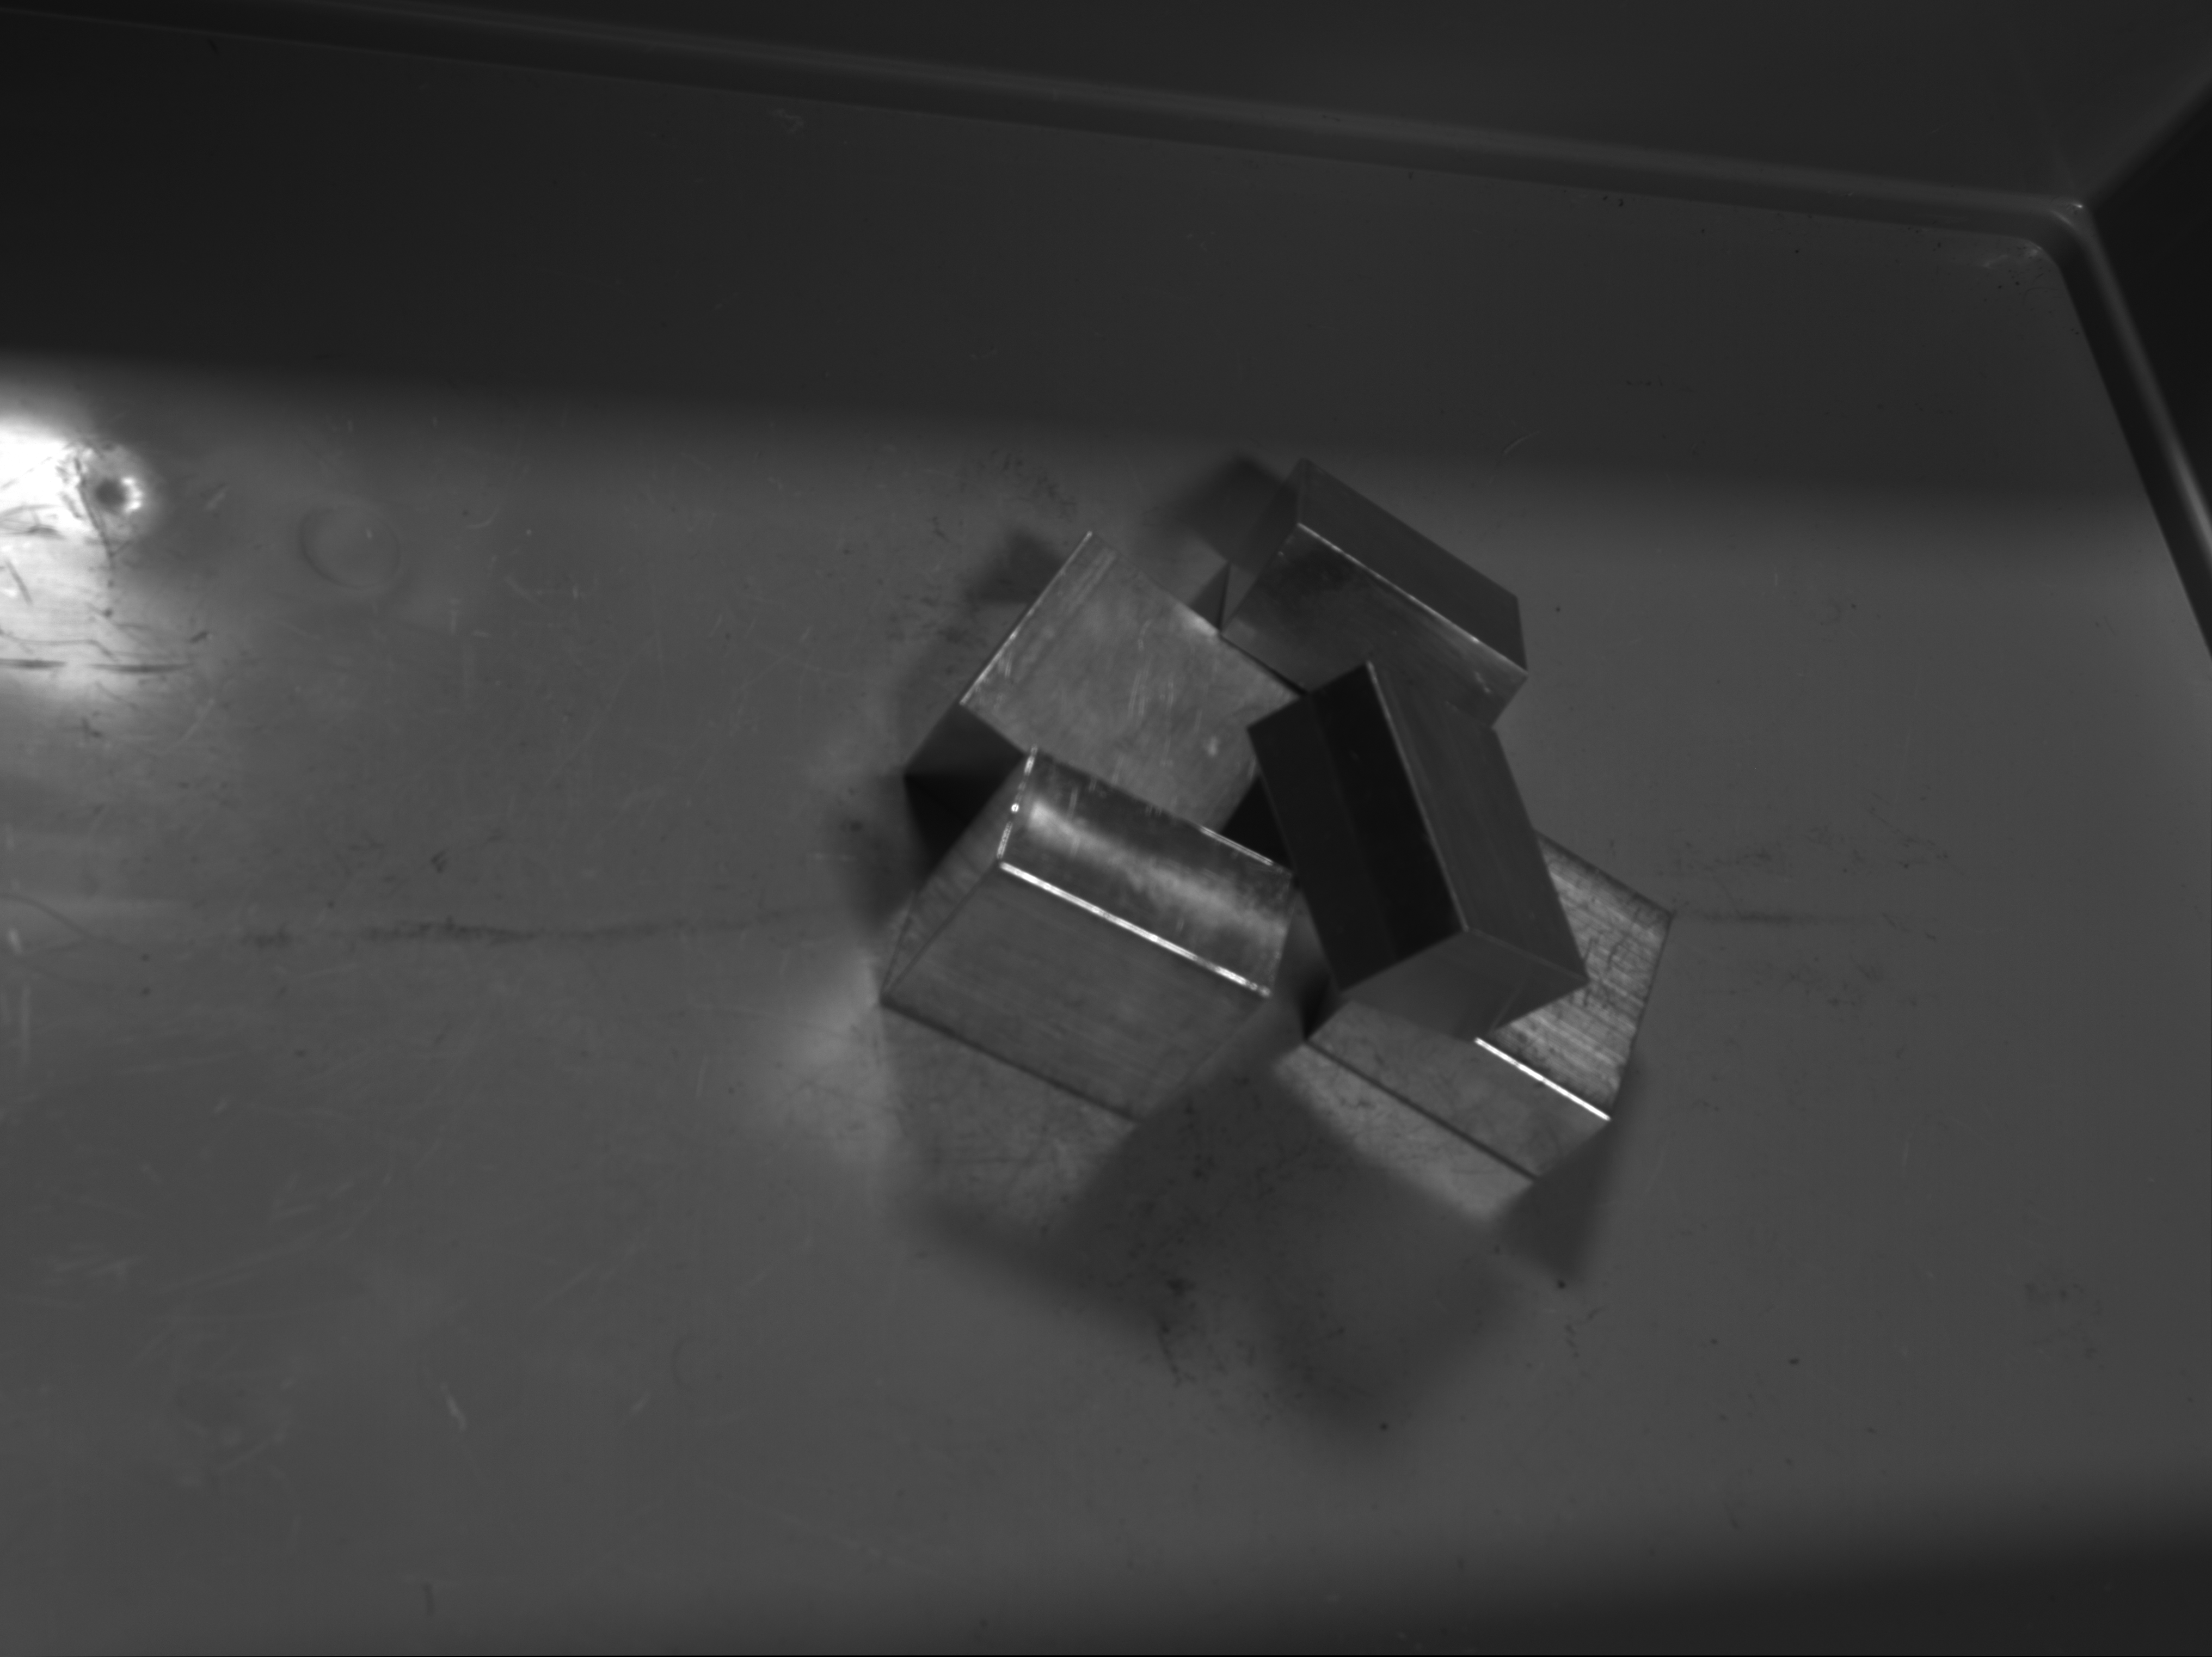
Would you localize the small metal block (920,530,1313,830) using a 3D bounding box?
[{"bbox_3d":[0.004,-0.016,0.649,0.050,0.025,0.050,38,51,-3],"label":"small metal block"}]

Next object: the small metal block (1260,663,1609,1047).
[{"bbox_3d":[0.056,0.005,0.618,0.050,0.025,0.050,22,45,-56],"label":"small metal block"}]

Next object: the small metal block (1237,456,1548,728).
[{"bbox_3d":[0.053,-0.039,0.676,0.050,0.025,0.050,32,18,-7],"label":"small metal block"}]

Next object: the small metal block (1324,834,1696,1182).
[{"bbox_3d":[0.073,0.027,0.661,0.050,0.025,0.050,31,52,-8],"label":"small metal block"}]

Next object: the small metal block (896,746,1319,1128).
[{"bbox_3d":[0.000,0.019,0.610,0.050,0.050,0.025,26,52,-12],"label":"small metal block"}]
